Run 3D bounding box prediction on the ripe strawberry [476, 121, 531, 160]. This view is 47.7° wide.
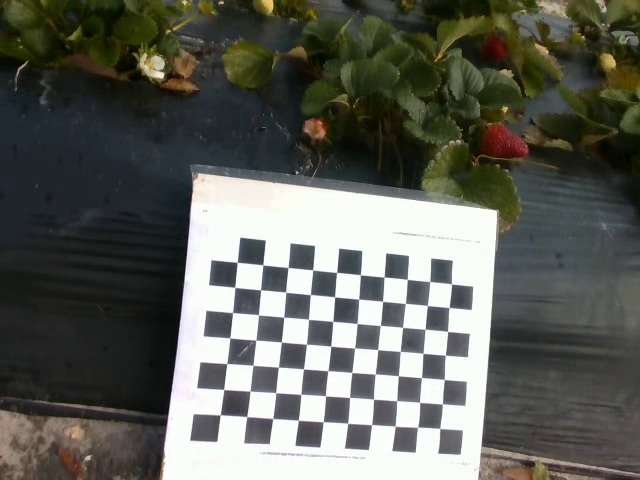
[{"bbox_3d":[0.197,-0.102,0.745,0.064,0.051,0.043,40,-15,-6],"label":"ripe strawberry"}]
